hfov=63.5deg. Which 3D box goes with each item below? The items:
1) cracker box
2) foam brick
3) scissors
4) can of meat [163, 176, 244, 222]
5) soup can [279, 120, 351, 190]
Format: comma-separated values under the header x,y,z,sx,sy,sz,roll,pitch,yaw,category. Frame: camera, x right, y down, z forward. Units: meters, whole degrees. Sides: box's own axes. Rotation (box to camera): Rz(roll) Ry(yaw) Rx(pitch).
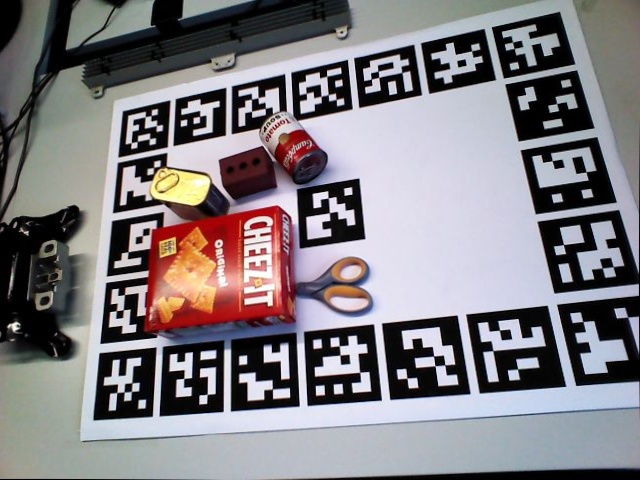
x,y,z,sx,sy,sz,roll,pitch,yaw,category
-0.124,0.064,0.755,0.215,0.072,0.163,-15,67,16,cracker box
-0.087,-0.096,0.826,0.078,0.051,0.052,-19,68,10,foam brick
-0.002,0.089,0.743,0.204,0.016,0.087,-14,69,13,scissors
-0.182,-0.057,0.821,0.102,0.084,0.057,5,74,18,can of meat
-0.010,-0.135,0.814,0.068,0.068,0.102,-44,60,-1,soup can
